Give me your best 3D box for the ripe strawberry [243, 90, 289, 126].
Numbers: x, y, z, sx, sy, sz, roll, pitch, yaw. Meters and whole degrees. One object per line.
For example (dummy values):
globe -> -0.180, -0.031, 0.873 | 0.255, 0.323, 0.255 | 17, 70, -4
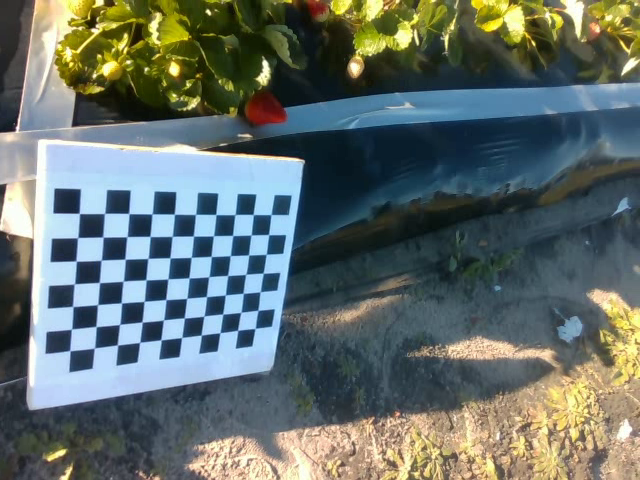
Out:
ripe strawberry -> -0.064, -0.151, 0.727 | 0.063, 0.045, 0.048 | 30, 1, 23
